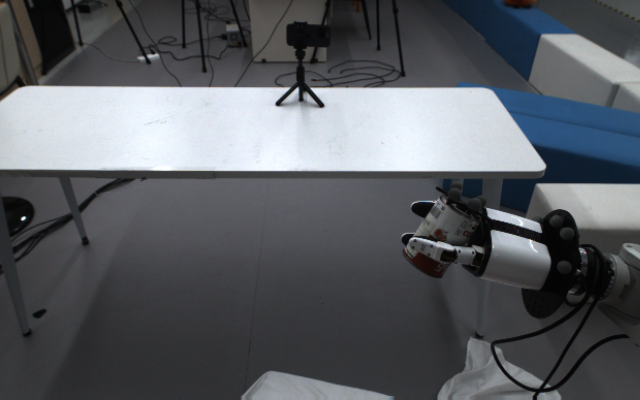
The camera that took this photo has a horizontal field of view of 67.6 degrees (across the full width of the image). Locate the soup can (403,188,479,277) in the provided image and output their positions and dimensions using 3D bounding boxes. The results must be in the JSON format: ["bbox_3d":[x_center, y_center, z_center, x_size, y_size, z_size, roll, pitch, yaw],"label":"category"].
[{"bbox_3d":[0.174,0.050,0.690,0.067,0.101,0.067,27,18,-10],"label":"soup can"}]
